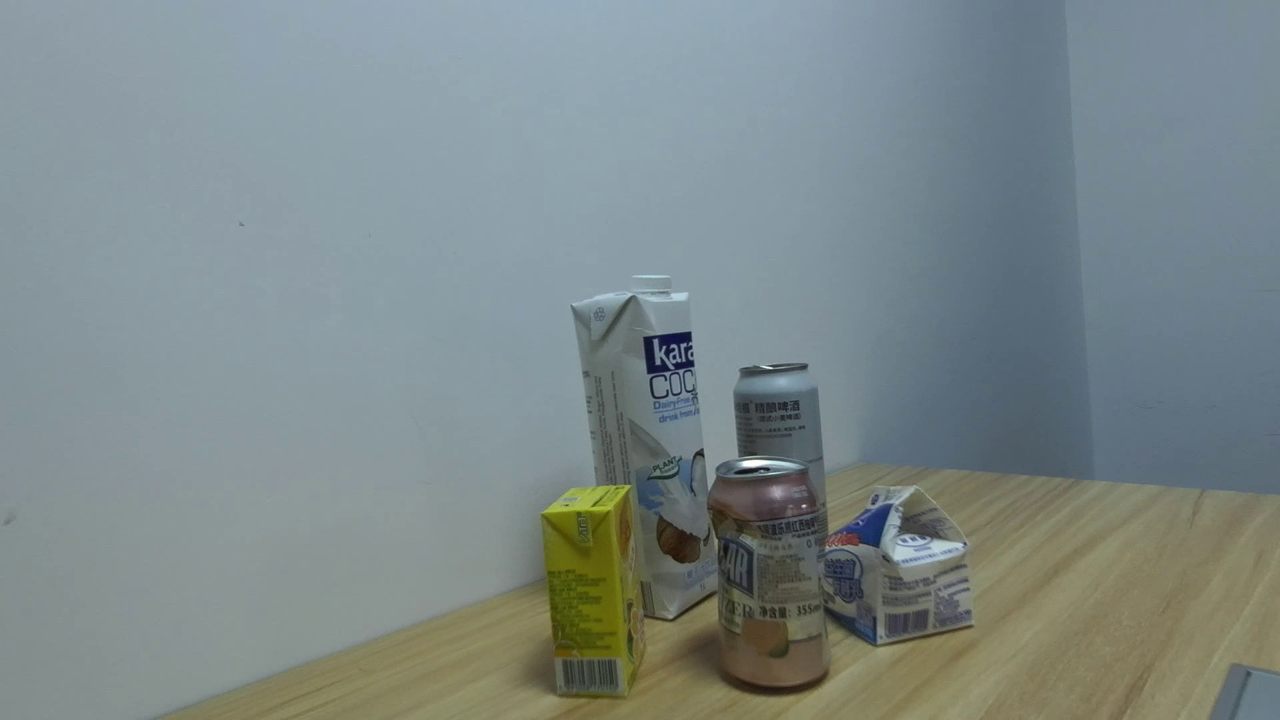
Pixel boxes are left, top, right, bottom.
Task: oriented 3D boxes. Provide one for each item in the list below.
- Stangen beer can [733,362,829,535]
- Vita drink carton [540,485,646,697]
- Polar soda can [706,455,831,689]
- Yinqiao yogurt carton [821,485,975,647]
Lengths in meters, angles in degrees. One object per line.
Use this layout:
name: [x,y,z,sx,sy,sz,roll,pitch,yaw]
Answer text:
Stangen beer can: [0.113,0.088,0.561,0.067,0.171,0.067,-6,3,1]
Vita drink carton: [-0.026,0.135,0.426,0.043,0.109,0.067,-5,2,11]
Polar soda can: [0.075,0.122,0.413,0.067,0.121,0.074,-3,1,22]
Yinqiao yogurt carton: [0.167,0.125,0.465,0.077,0.093,0.083,-5,2,-14]
